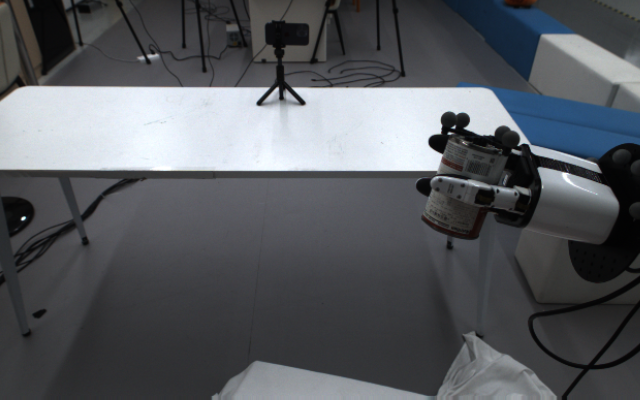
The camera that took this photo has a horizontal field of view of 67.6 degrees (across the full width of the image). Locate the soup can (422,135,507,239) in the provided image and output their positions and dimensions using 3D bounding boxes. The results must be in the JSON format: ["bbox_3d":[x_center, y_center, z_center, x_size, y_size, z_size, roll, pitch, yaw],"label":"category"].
[{"bbox_3d":[0.163,-0.017,0.544,0.067,0.101,0.067,13,18,-4],"label":"soup can"}]
